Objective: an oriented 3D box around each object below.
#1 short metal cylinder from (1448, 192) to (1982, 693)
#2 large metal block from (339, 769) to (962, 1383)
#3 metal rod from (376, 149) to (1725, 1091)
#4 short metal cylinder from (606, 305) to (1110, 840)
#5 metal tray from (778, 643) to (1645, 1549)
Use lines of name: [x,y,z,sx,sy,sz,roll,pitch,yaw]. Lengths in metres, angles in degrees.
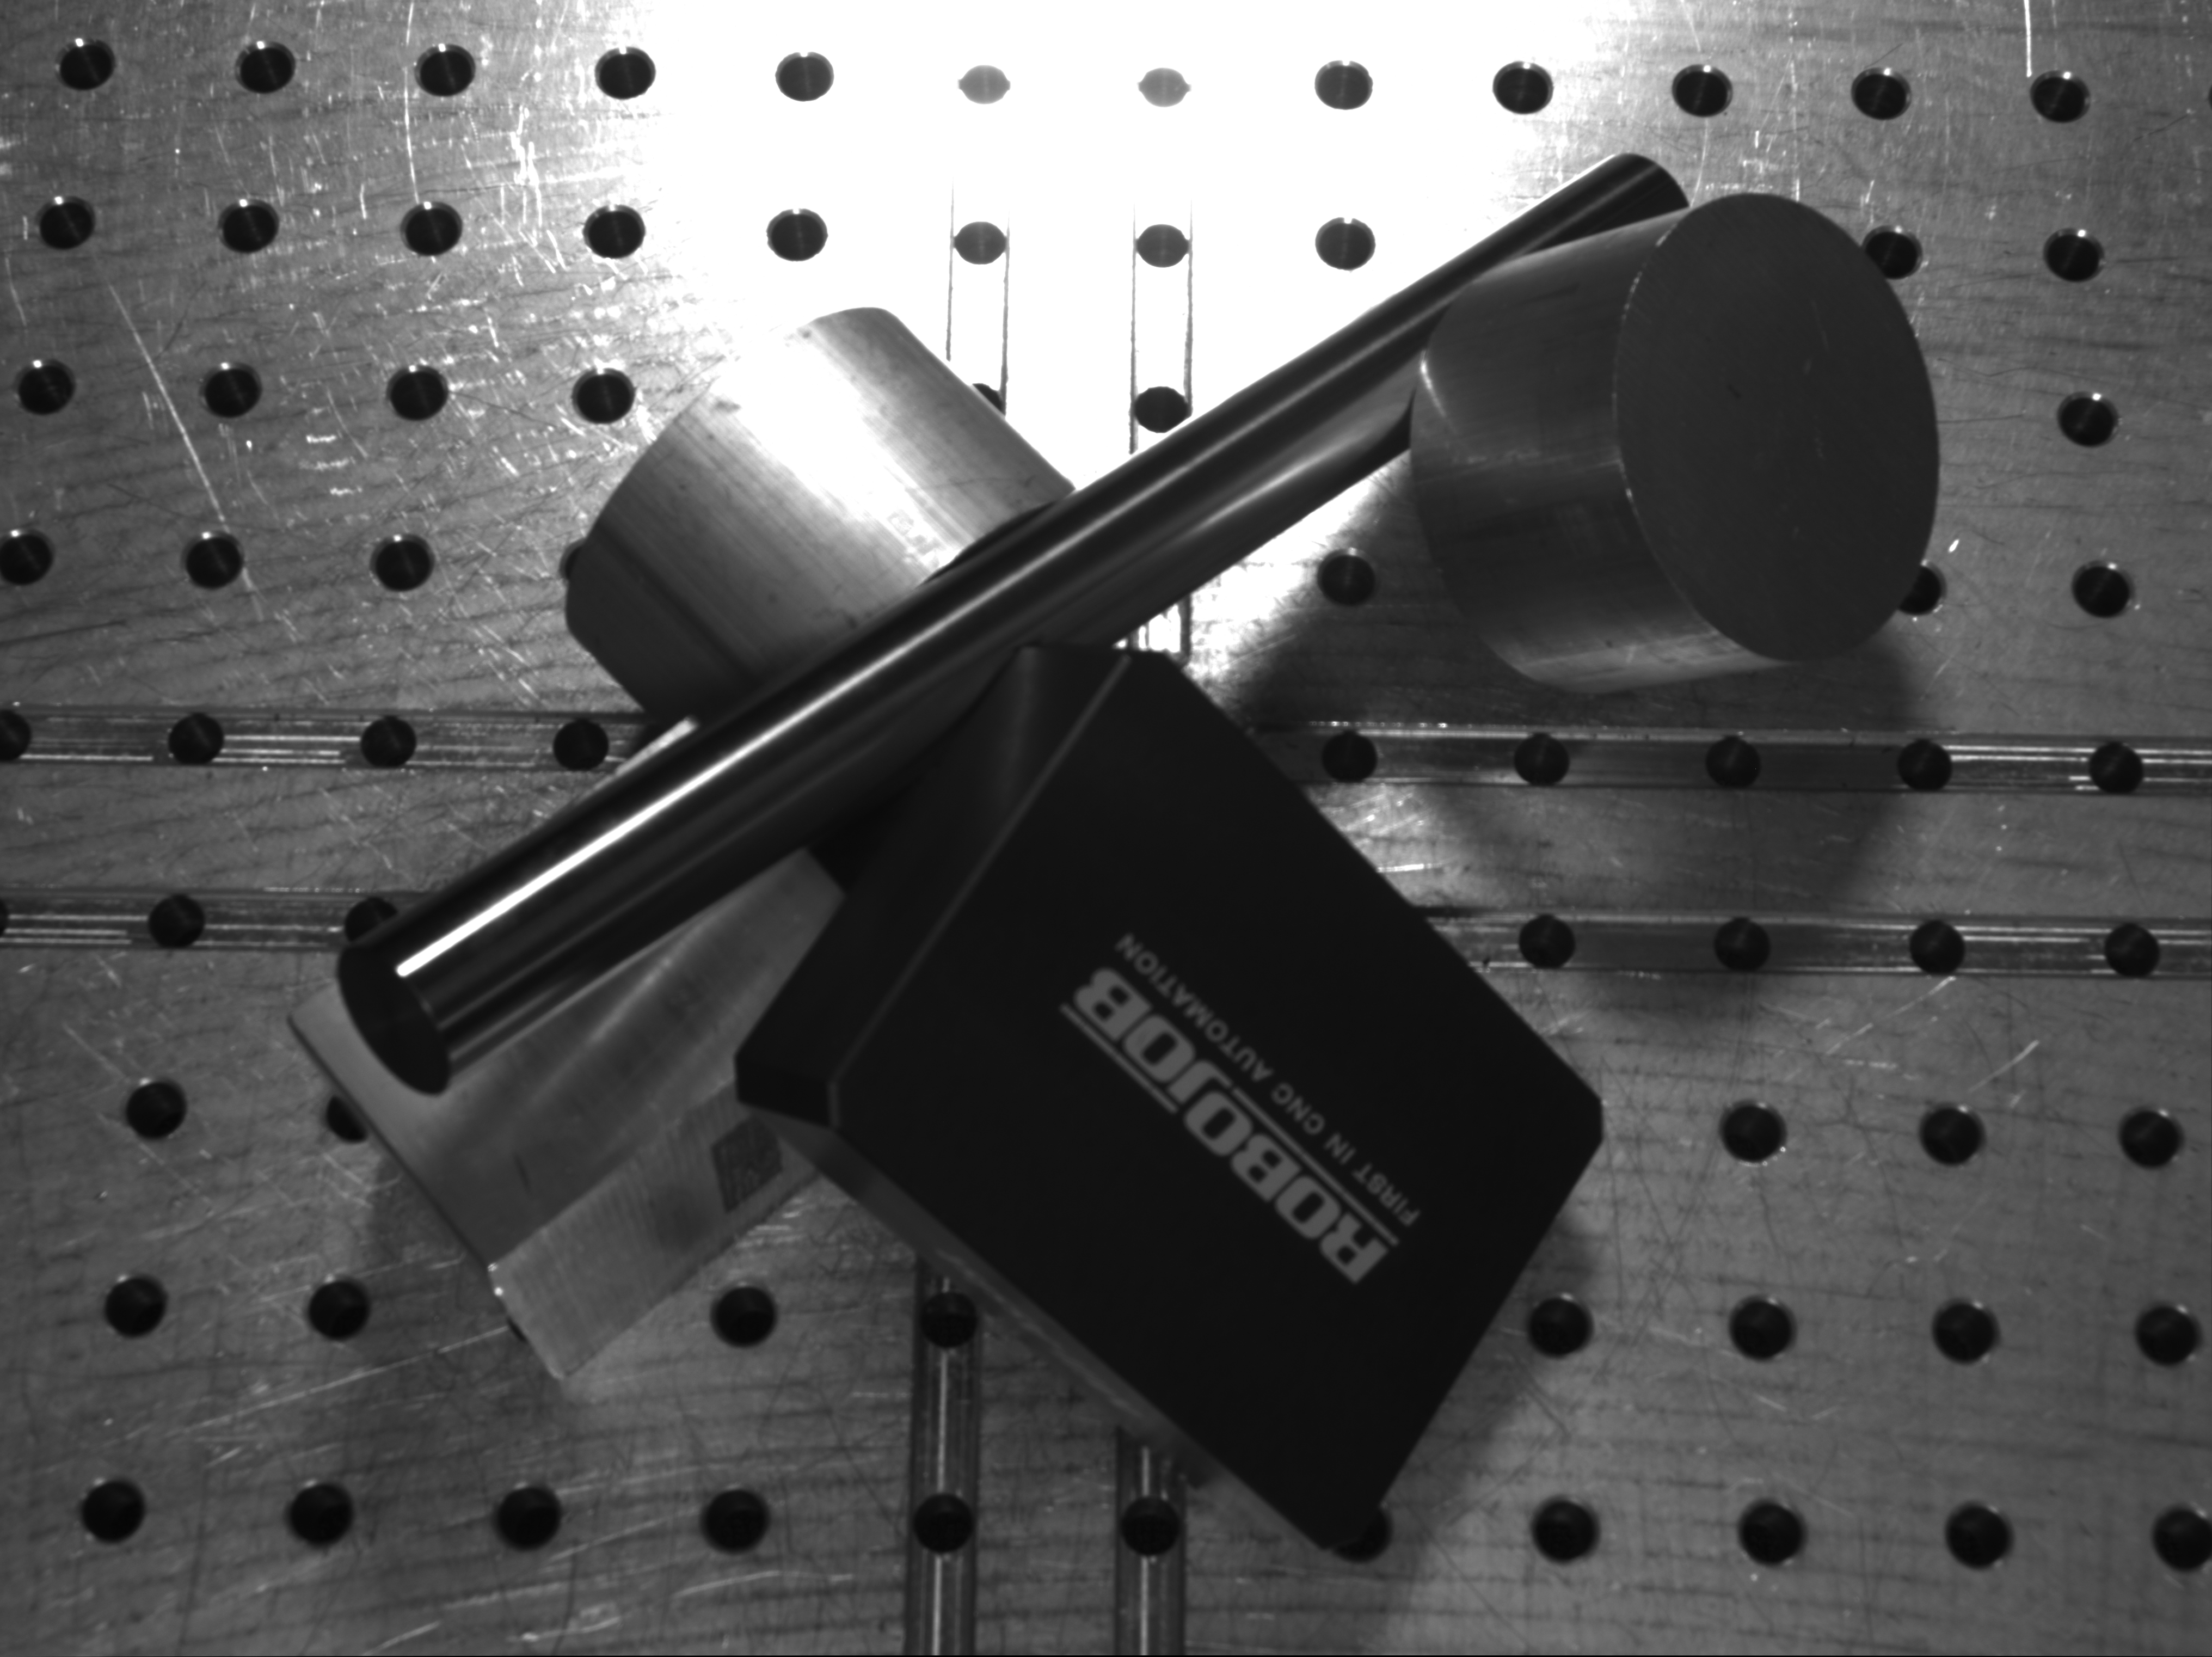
short metal cylinder: [0.106,-0.066,0.637,0.080,0.050,0.080,4,84,-36]
large metal block: [-0.071,0.039,0.603,0.080,0.080,0.050,-38,74,-13]
metal rod: [0.006,-0.045,0.607,0.025,0.025,0.301,45,55,15]
short metal cylinder: [-0.039,-0.043,0.634,0.080,0.080,0.050,-42,75,-14]
metal tray: [0.021,0.043,0.586,0.130,0.030,0.090,44,70,-29]
